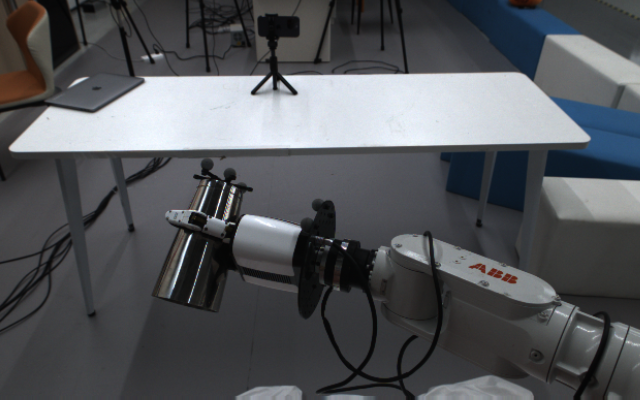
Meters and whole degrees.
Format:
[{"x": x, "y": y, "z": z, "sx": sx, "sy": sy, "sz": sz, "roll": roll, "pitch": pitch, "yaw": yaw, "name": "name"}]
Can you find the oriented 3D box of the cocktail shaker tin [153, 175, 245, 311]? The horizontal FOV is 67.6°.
[{"x": -0.161, "y": 0.062, "z": 0.672, "sx": 0.093, "sy": 0.093, "sz": 0.170, "roll": 10, "pitch": 71, "yaw": 11, "name": "cocktail shaker tin"}]
